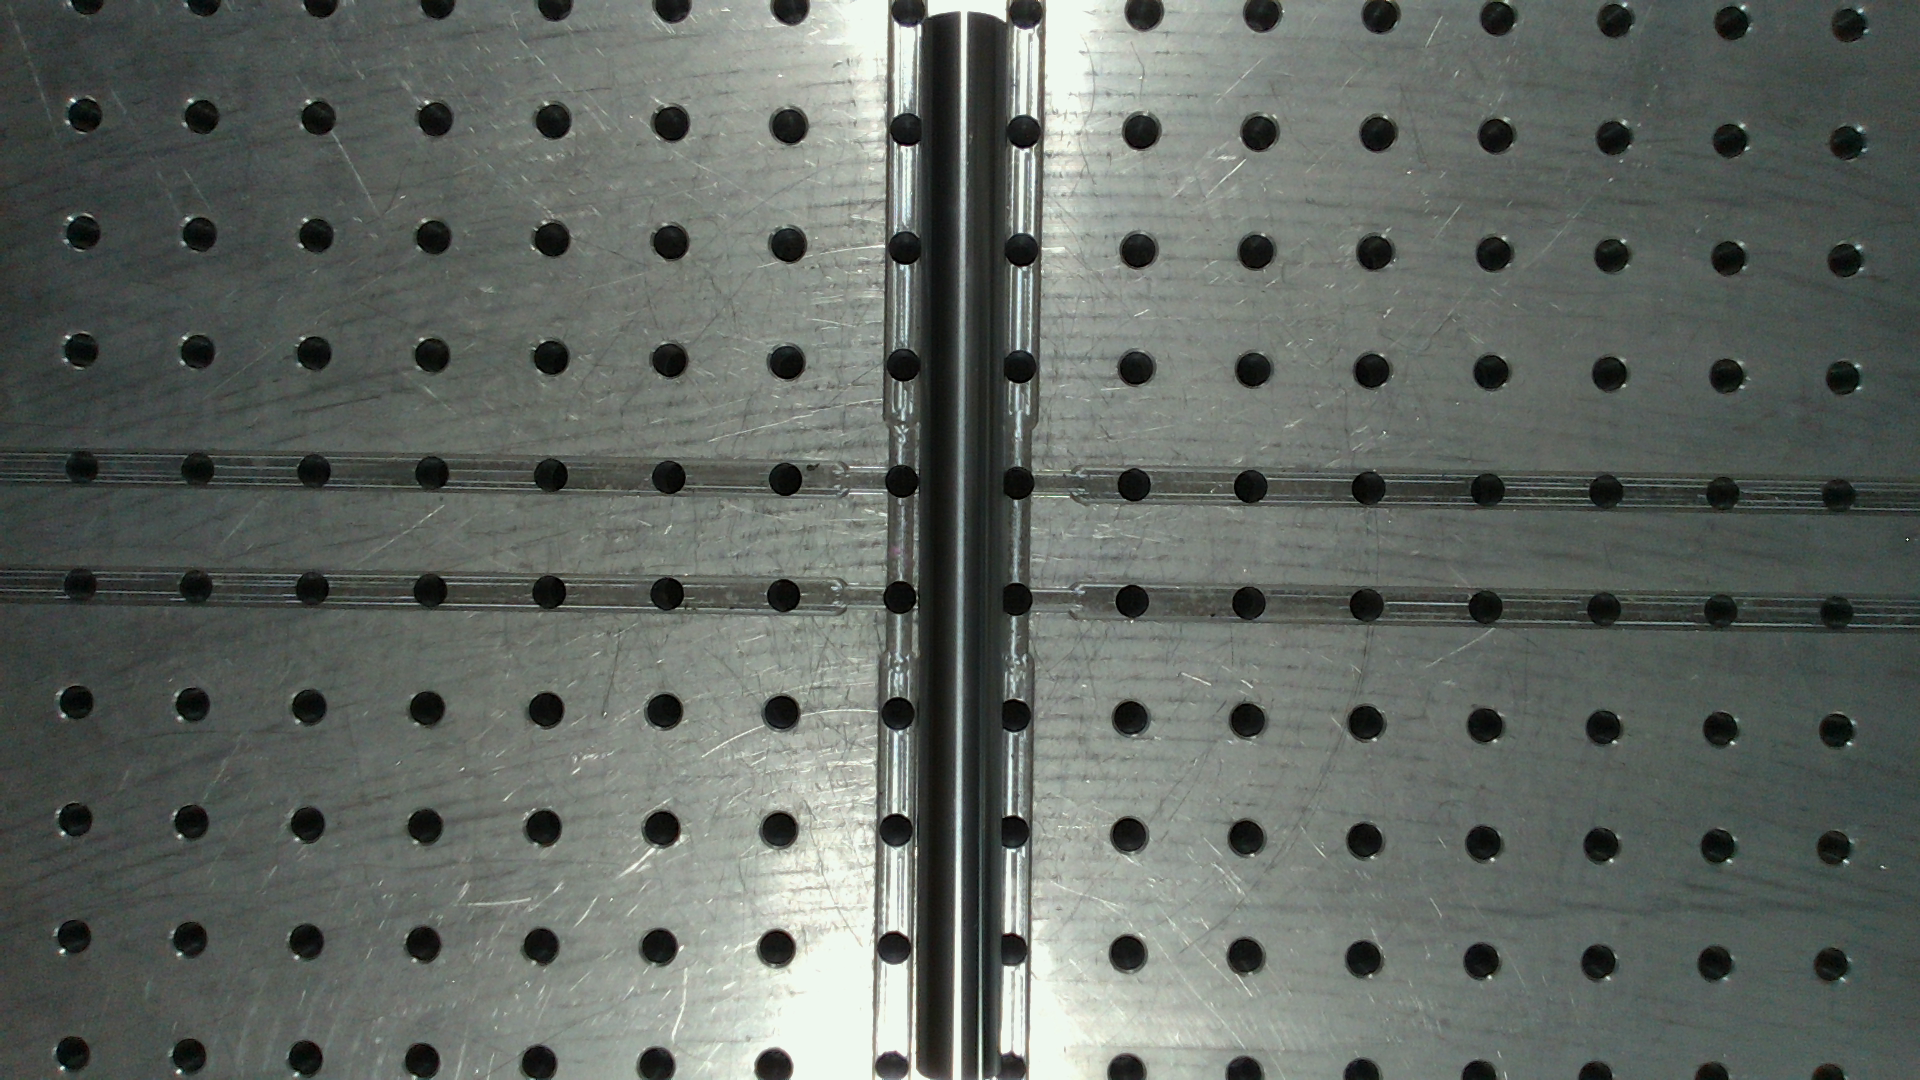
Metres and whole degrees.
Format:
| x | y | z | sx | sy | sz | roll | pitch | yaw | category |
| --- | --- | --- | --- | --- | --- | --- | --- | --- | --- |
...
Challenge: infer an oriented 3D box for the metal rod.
| x | y | z | sx | sy | sz | roll | pitch | yaw | category |
| --- | --- | --- | --- | --- | --- | --- | --- | --- | --- |
| 0.001 | 0.002 | 0.397 | 0.025 | 0.025 | 0.300 | 0 | 90 | 0 | metal rod |
